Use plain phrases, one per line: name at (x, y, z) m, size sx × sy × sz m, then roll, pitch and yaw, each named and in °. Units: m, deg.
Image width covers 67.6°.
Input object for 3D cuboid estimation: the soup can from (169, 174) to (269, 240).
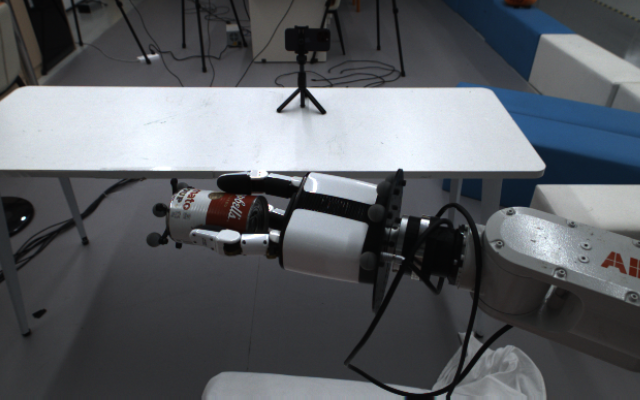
soup can at (-0.116, 0.024, 0.569) m, size 0.101 × 0.067 × 0.067 m, roll 6°, pitch 35°, yaw 13°
